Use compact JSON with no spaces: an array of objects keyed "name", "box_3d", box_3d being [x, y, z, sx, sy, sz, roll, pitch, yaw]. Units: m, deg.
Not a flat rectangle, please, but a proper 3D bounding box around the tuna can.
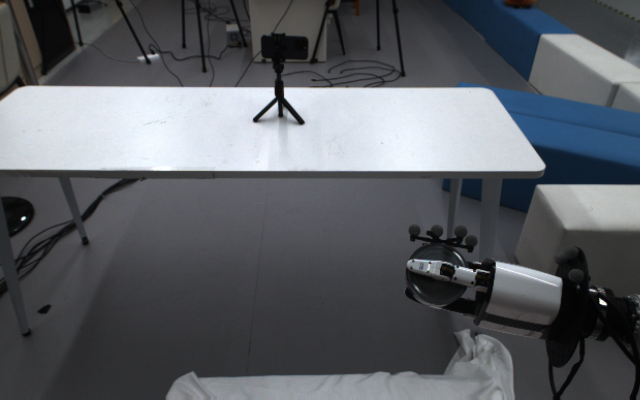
[{"name":"tuna can","box_3d":[0.163,0.101,0.673,0.085,0.034,0.085,-2,70,6]}]
